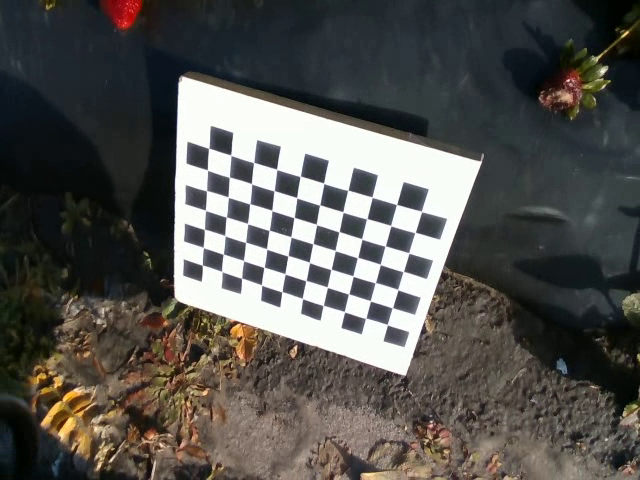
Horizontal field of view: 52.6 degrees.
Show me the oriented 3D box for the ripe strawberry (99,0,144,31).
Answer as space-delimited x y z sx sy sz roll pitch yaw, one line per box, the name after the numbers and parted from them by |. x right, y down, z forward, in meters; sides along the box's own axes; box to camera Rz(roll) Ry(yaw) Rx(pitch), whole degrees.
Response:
-0.183 -0.203 0.570 0.040 0.056 0.040 -31 -27 36 | ripe strawberry
